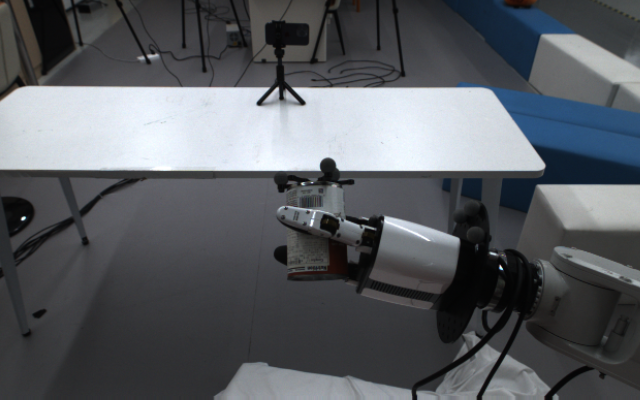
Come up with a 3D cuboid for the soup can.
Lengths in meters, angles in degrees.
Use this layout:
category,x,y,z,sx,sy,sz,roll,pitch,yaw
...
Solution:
category,x,y,z,sx,sy,sz,roll,pitch,yaw
soup can,-0.001,0.035,0.535,0.067,0.067,0.101,-2,76,-6
